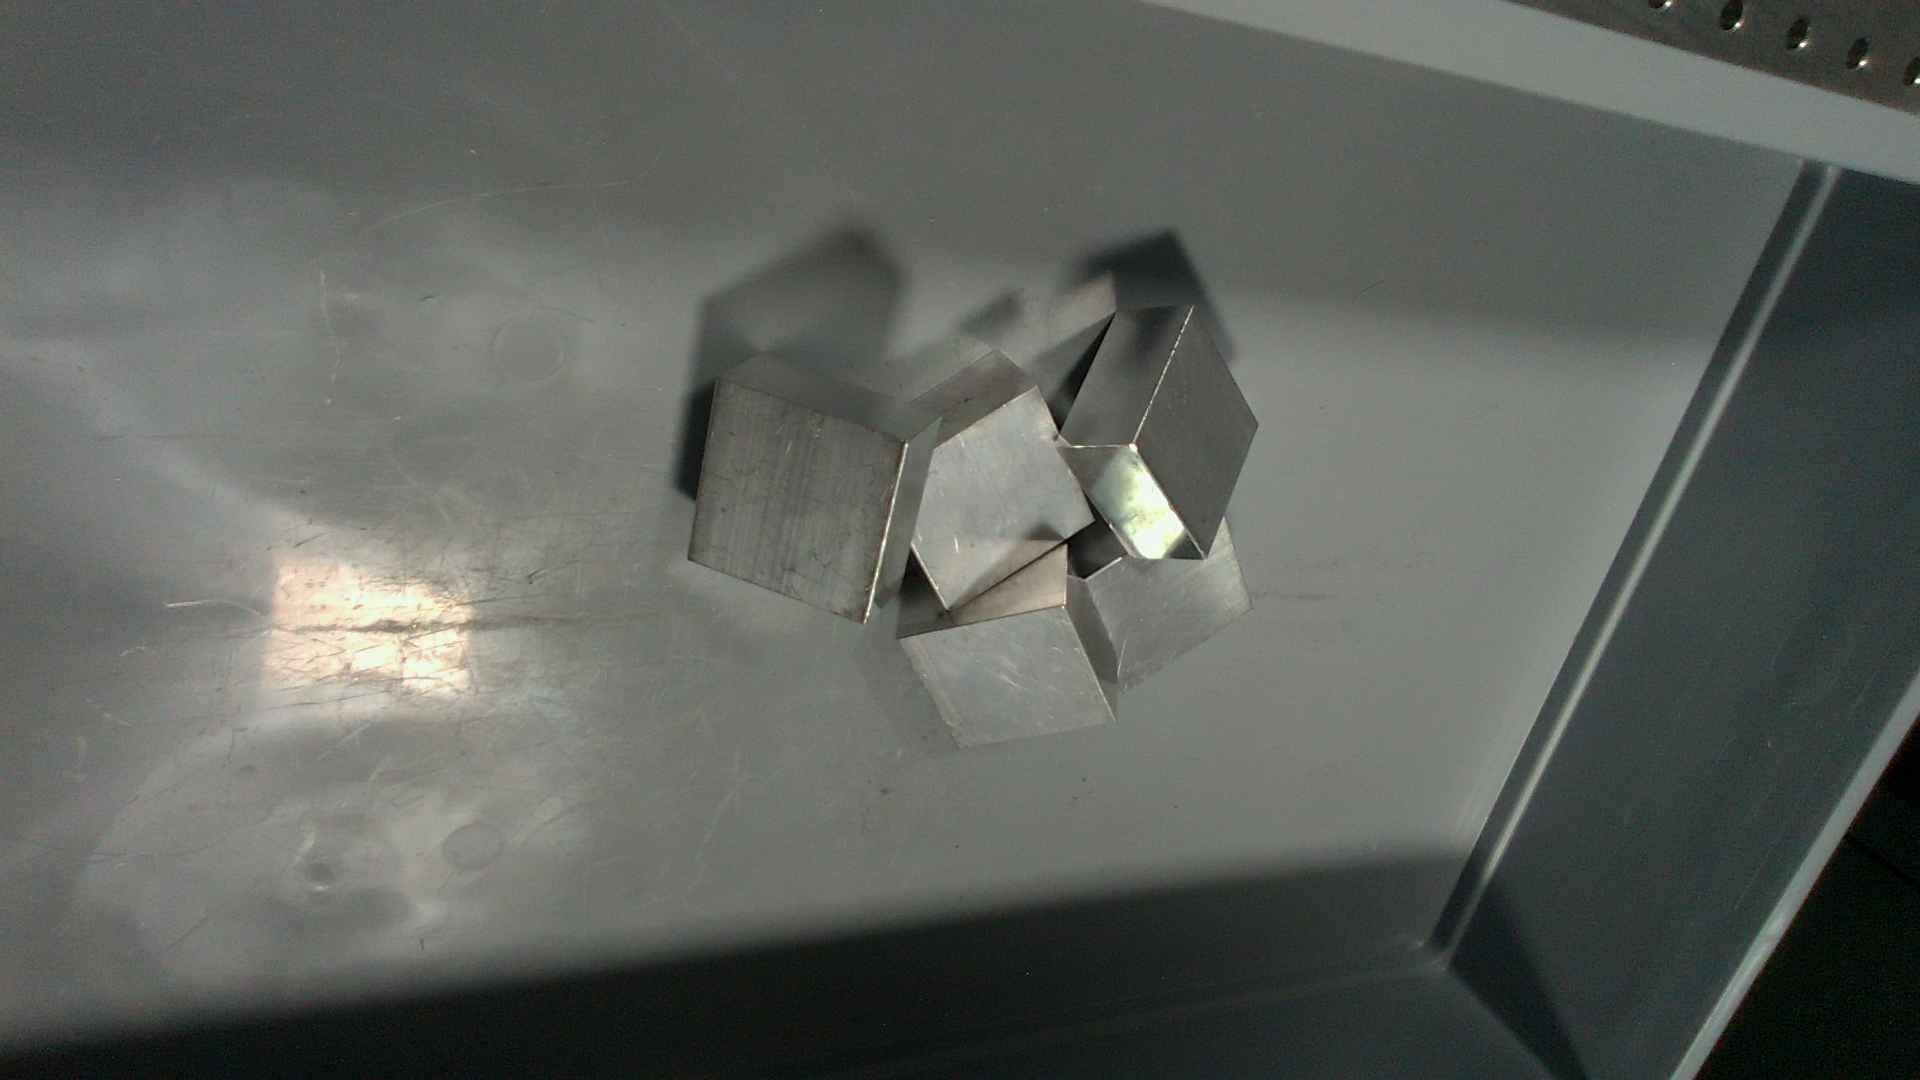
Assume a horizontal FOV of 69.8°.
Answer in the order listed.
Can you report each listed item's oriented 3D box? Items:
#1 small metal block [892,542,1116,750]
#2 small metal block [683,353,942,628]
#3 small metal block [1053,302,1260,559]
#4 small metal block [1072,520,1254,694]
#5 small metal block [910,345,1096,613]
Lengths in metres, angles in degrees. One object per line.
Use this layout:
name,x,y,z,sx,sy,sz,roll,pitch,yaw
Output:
small metal block,0.014,0.032,0.400,0.050,0.025,0.050,-12,130,17
small metal block,-0.037,-0.013,0.342,0.050,0.025,0.050,20,115,11
small metal block,0.056,-0.030,0.385,0.050,0.025,0.050,51,54,-39
small metal block,0.058,0.011,0.426,0.050,0.025,0.050,-32,129,-8
small metal block,0.003,-0.017,0.379,0.050,0.025,0.050,-33,129,-7
